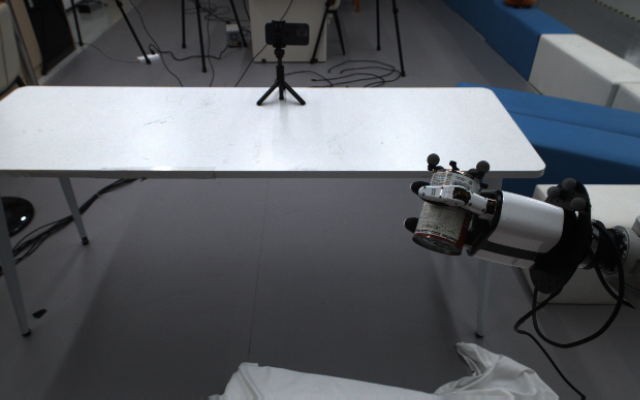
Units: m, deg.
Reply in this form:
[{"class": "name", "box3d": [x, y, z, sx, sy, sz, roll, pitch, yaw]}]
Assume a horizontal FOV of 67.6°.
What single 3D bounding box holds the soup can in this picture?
[{"class": "soup can", "box3d": [0.174, 0.015, 0.663, 0.067, 0.067, 0.101, 16, 75, 19]}]
